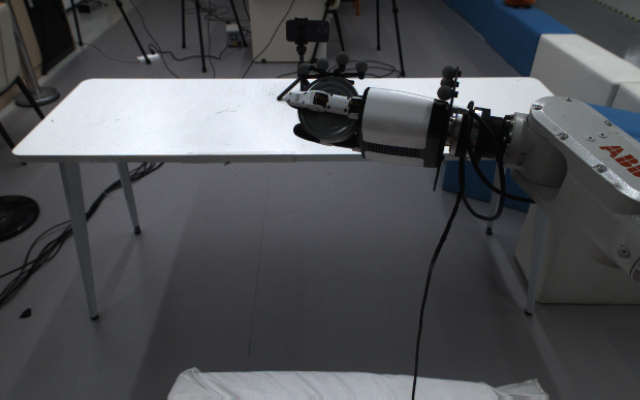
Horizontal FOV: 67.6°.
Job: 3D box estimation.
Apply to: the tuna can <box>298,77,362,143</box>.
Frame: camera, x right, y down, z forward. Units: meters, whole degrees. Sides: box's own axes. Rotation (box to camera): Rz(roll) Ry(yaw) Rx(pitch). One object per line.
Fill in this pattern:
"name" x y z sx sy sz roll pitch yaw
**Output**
"tuna can" 0.016 -0.122 0.657 0.085 0.085 0.034 12 -1 14
